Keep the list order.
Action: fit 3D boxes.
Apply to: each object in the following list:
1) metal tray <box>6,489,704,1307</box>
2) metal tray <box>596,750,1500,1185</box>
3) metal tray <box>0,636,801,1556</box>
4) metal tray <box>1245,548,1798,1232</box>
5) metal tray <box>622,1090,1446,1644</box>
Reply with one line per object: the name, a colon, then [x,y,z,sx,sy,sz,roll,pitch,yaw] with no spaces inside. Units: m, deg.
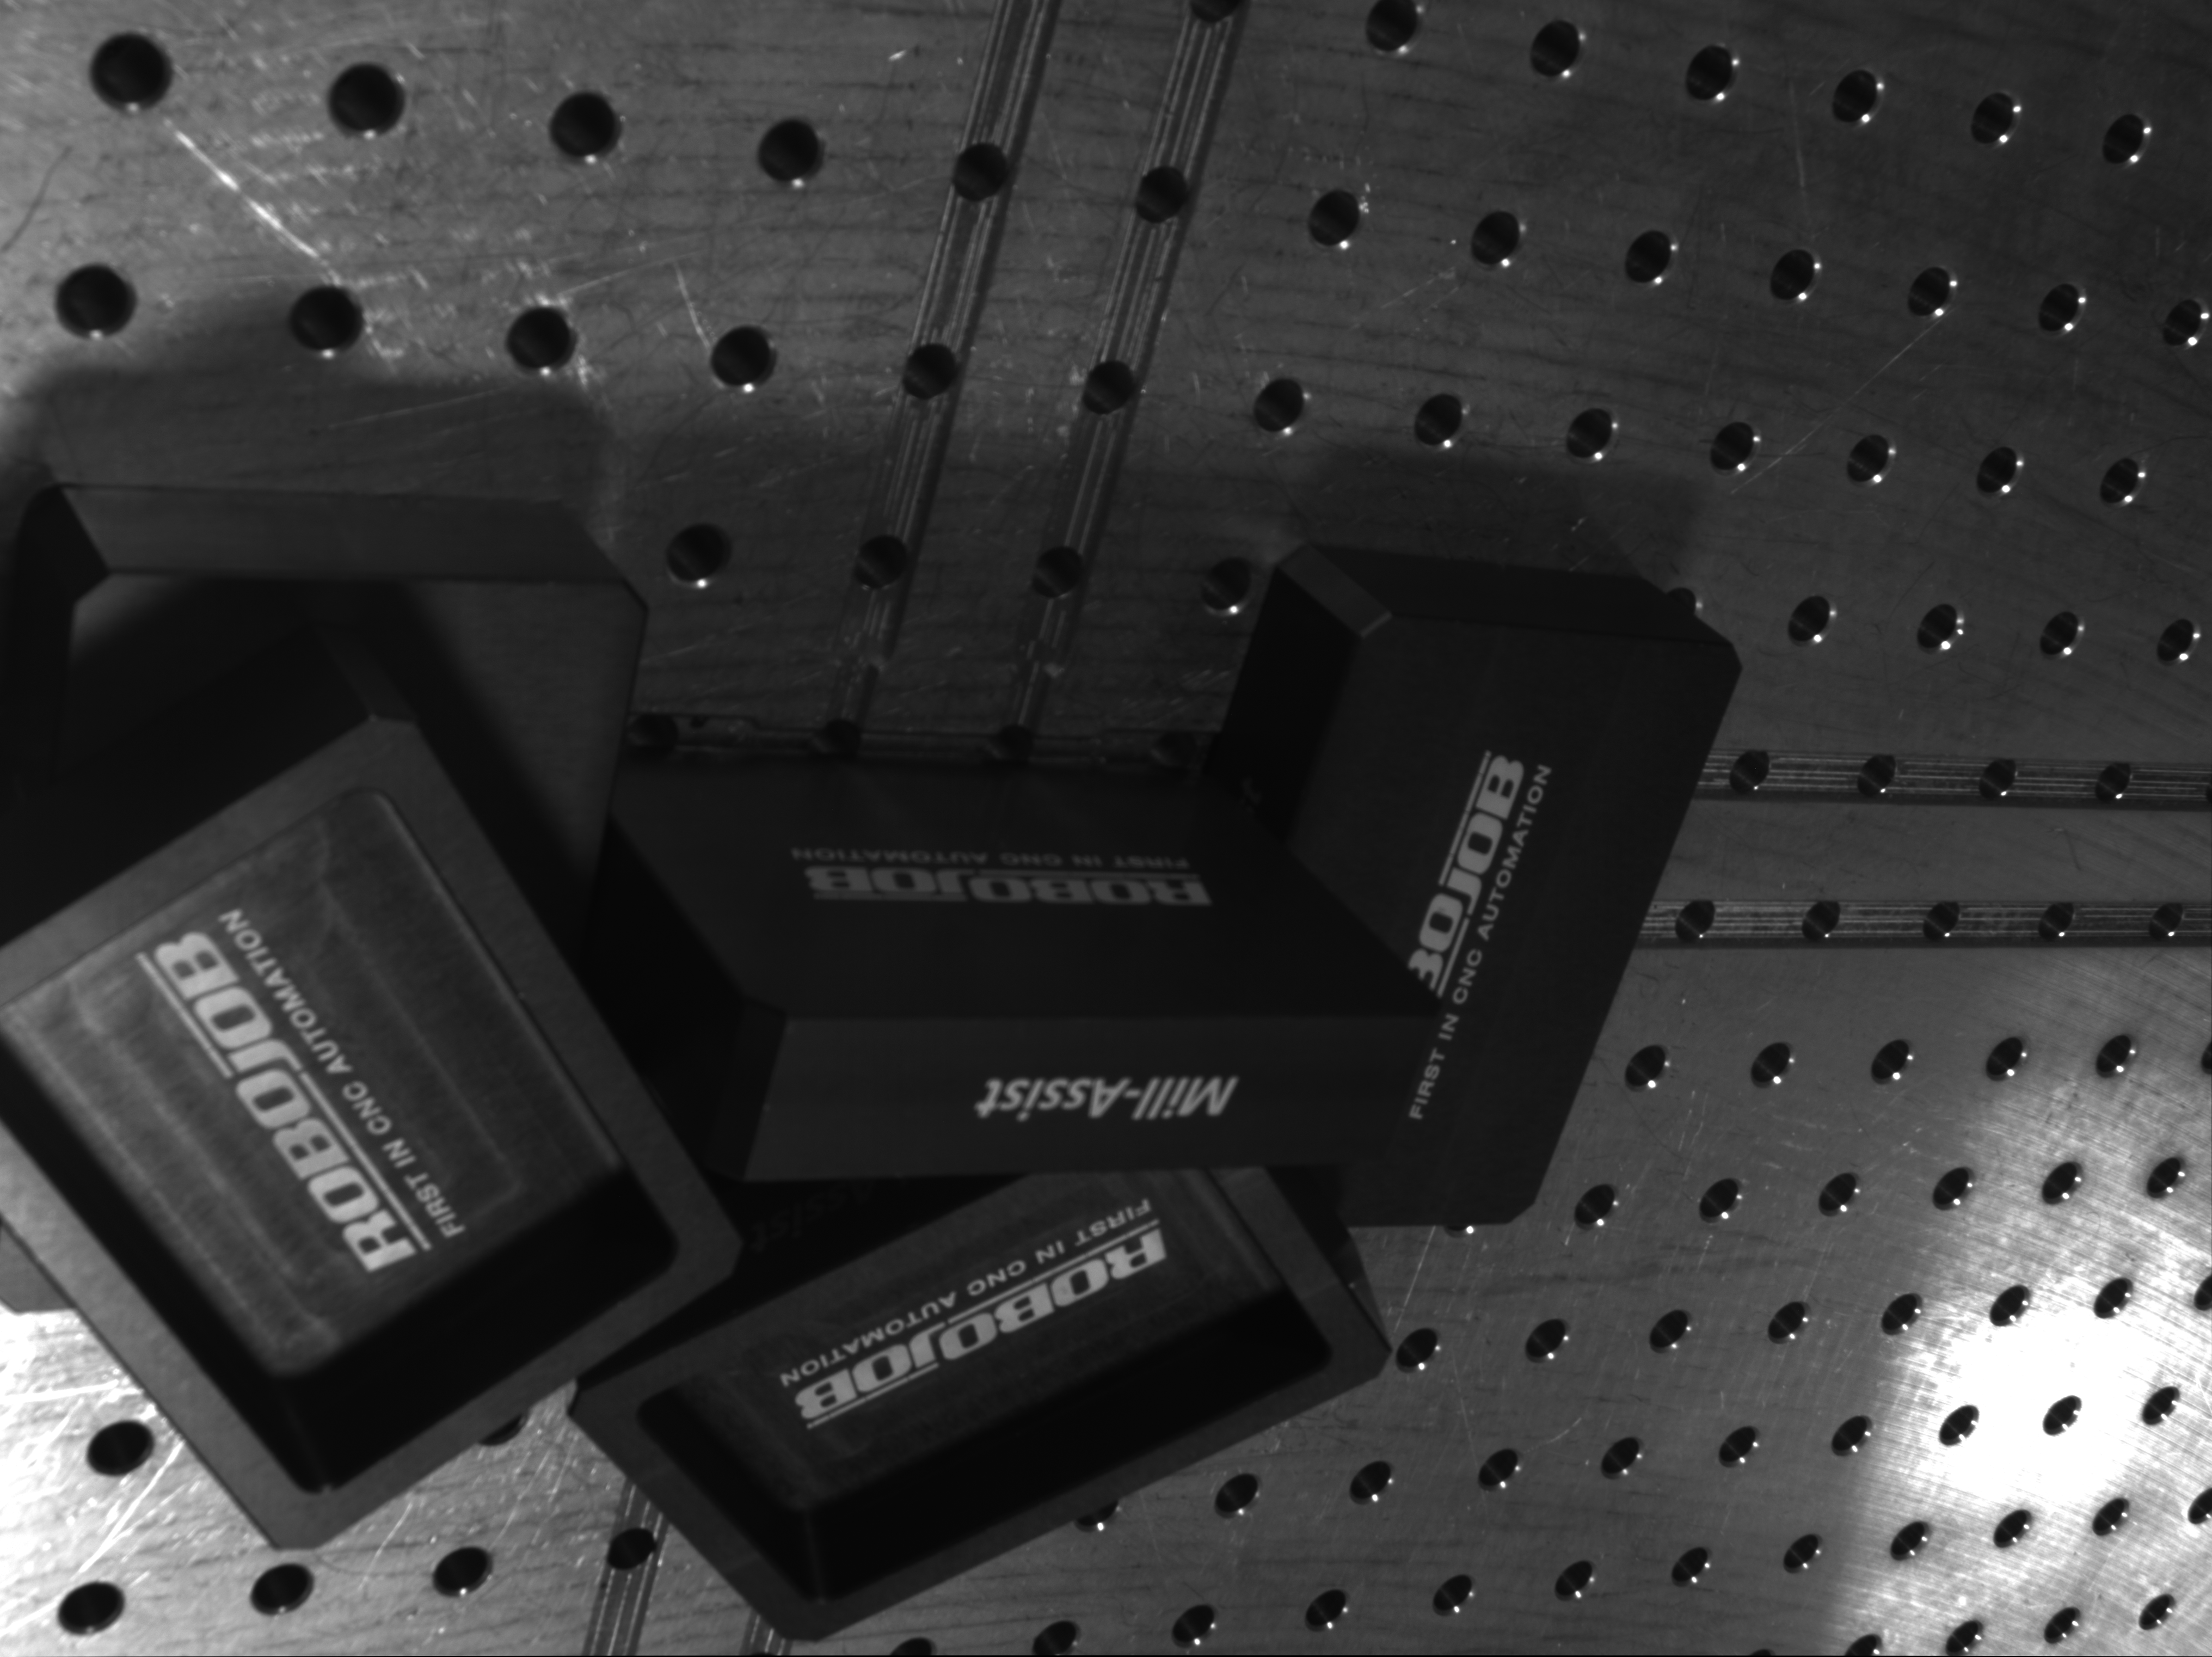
metal tray: [-0.122,0.012,0.587,0.090,0.030,0.130,-1,119,-29]
metal tray: [-0.011,0.022,0.617,0.130,0.090,0.030,2,117,-31]
metal tray: [-0.114,0.045,0.570,0.090,0.030,0.130,-33,130,-9]
metal tray: [0.069,0.015,0.699,0.090,0.030,0.130,3,117,-32]
metal tray: [-0.014,0.092,0.675,0.130,0.030,0.090,-27,131,8]
